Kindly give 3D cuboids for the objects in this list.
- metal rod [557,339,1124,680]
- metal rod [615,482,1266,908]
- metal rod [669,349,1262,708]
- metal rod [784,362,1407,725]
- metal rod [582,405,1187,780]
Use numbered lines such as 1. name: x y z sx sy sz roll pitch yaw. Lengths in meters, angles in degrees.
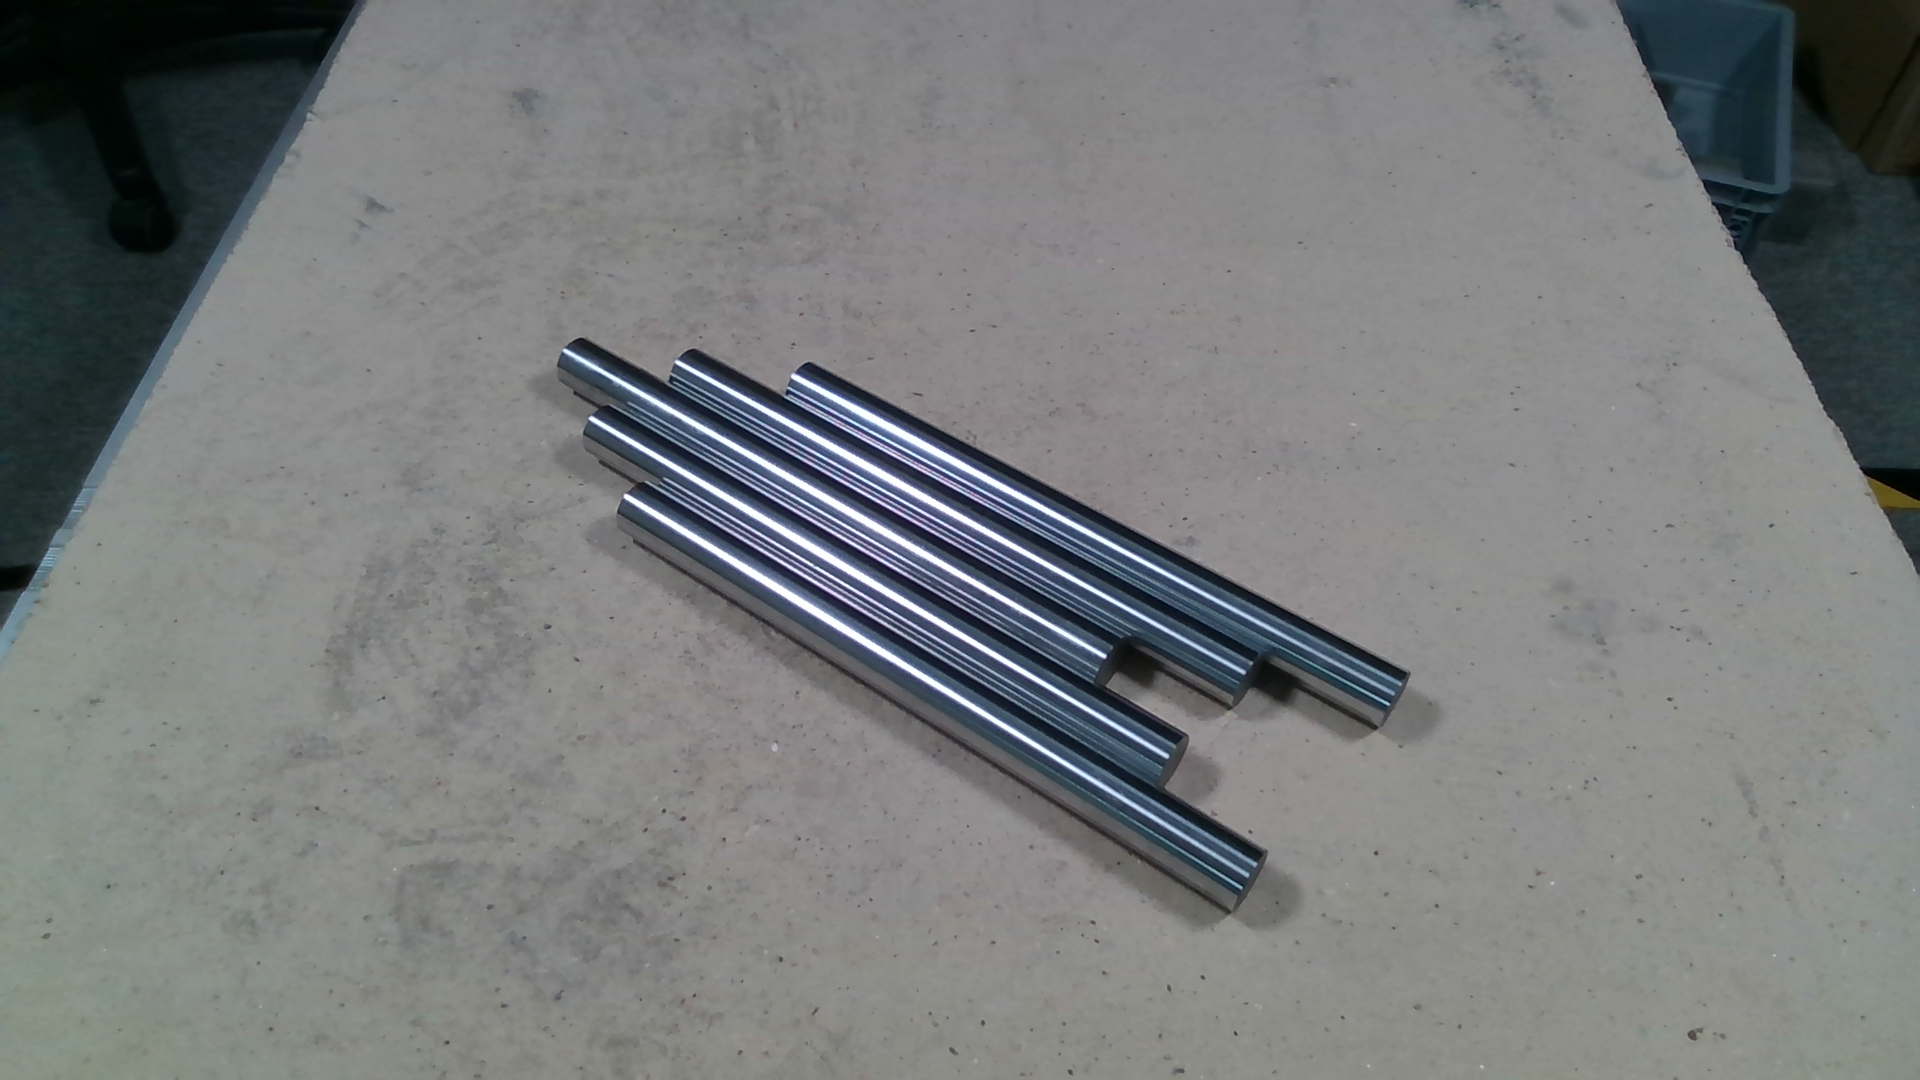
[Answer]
1. metal rod: -0.062 -0.018 0.602 0.300 0.025 0.025 29 56 22
2. metal rod: -0.019 0.052 0.543 0.300 0.025 0.025 29 56 22
3. metal rod: -0.008 -0.012 0.597 0.300 0.025 0.025 29 56 22
4. metal rod: 0.046 -0.006 0.592 0.300 0.025 0.025 29 56 22
5. metal rod: -0.042 0.017 0.573 0.300 0.025 0.025 29 56 22
